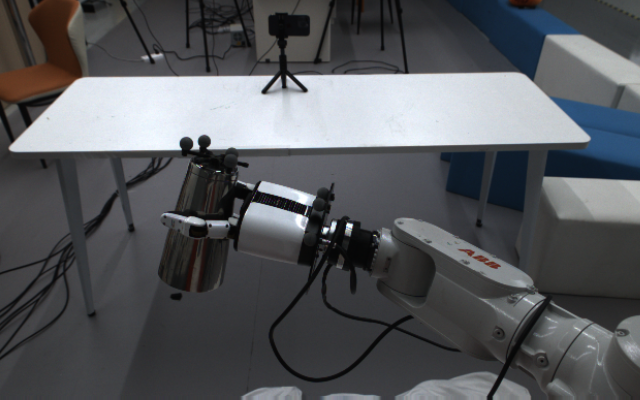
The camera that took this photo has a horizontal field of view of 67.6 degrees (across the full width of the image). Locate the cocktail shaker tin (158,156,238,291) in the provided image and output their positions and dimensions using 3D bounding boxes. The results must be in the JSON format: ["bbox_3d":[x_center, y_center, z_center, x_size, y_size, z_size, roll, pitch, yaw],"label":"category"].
[{"bbox_3d":[-0.163,0.030,0.668,0.093,0.170,0.093,14,18,-5],"label":"cocktail shaker tin"}]
